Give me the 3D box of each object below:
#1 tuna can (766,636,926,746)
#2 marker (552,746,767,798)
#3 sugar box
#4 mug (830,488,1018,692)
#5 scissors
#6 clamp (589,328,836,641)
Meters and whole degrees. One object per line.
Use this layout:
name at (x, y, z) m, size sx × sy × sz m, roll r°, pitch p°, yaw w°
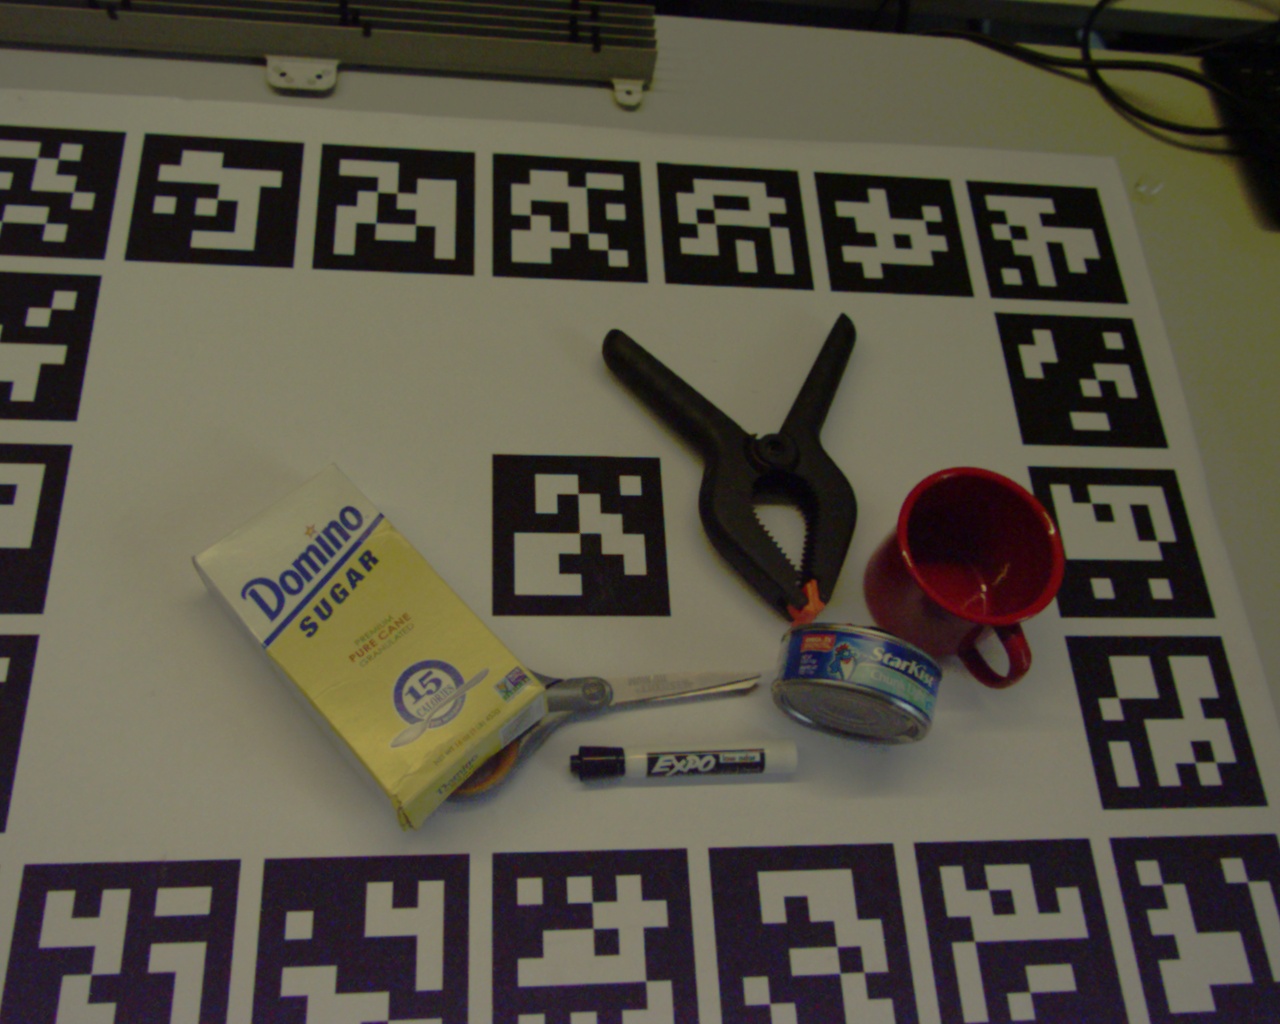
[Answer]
tuna can at (0.114, 0.101, 0.638) m, size 0.085 × 0.086 × 0.034 m, roll 16°, pitch 65°, yaw -2°
marker at (0.011, 0.146, 0.639) m, size 0.120 × 0.019 × 0.020 m, roll -3°, pitch 68°, yaw -10°
sugar box at (-0.141, 0.079, 0.624) m, size 0.092 × 0.045 × 0.178 m, roll -36°, pitch 70°, yaw -22°
mug at (0.168, 0.054, 0.673) m, size 0.092 × 0.081 × 0.118 m, roll -26°, pitch 70°, yaw -19°
scissors at (-0.037, 0.106, 0.646) m, size 0.201 × 0.016 × 0.088 m, roll -10°, pitch 65°, yaw -15°
clamp at (0.068, -0.018, 0.721) m, size 0.164 × 0.037 × 0.204 m, roll -10°, pitch 69°, yaw -13°
